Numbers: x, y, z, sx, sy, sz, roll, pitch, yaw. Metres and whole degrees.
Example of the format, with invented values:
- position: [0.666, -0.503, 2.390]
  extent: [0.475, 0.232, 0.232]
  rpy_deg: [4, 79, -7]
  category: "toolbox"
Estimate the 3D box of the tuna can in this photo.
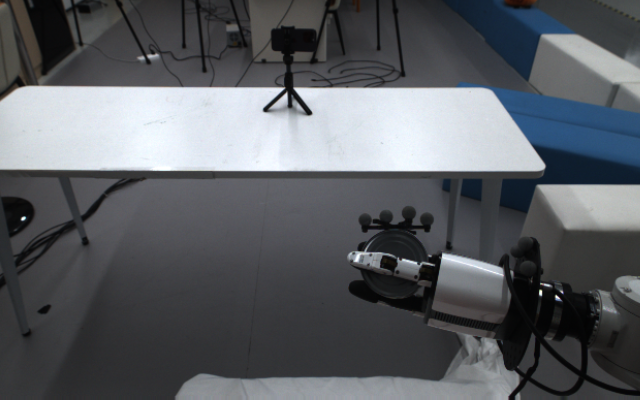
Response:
- position: [0.095, 0.080, 0.612]
  extent: [0.085, 0.034, 0.085]
  rpy_deg: [-5, 70, 15]
  category: "tuna can"
